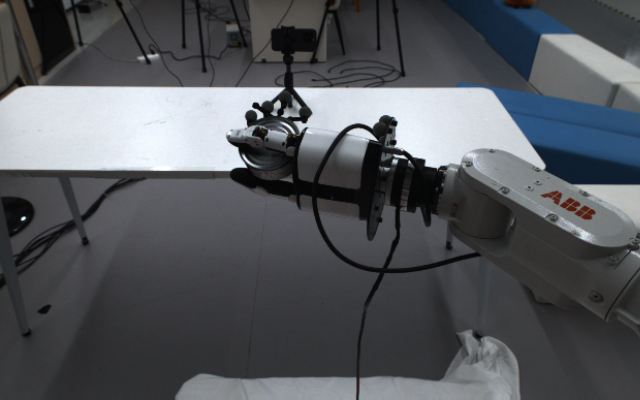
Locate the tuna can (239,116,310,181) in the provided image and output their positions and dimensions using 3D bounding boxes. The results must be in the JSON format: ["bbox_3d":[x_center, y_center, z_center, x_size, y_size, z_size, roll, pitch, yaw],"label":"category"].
[{"bbox_3d":[-0.065,-0.069,0.658,0.085,0.034,0.085,-6,61,10],"label":"tuna can"}]
